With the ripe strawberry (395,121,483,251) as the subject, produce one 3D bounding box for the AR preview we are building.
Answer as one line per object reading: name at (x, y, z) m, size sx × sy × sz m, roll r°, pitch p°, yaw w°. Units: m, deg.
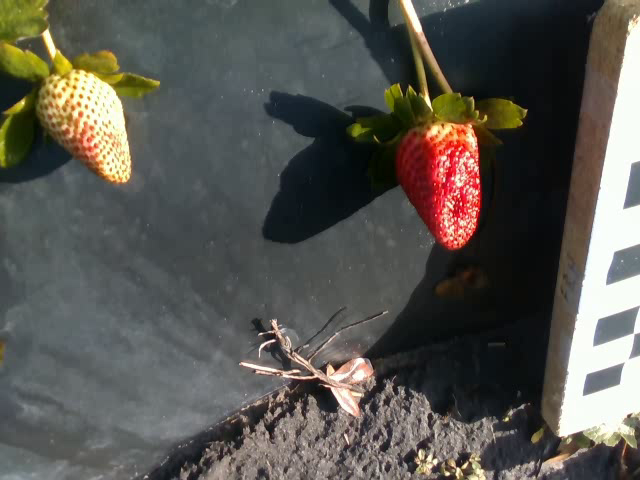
ripe strawberry at (0.017, -0.009, 0.084) m, size 0.016 × 0.023 × 0.015 m, roll -11°, pitch -10°, yaw -10°
